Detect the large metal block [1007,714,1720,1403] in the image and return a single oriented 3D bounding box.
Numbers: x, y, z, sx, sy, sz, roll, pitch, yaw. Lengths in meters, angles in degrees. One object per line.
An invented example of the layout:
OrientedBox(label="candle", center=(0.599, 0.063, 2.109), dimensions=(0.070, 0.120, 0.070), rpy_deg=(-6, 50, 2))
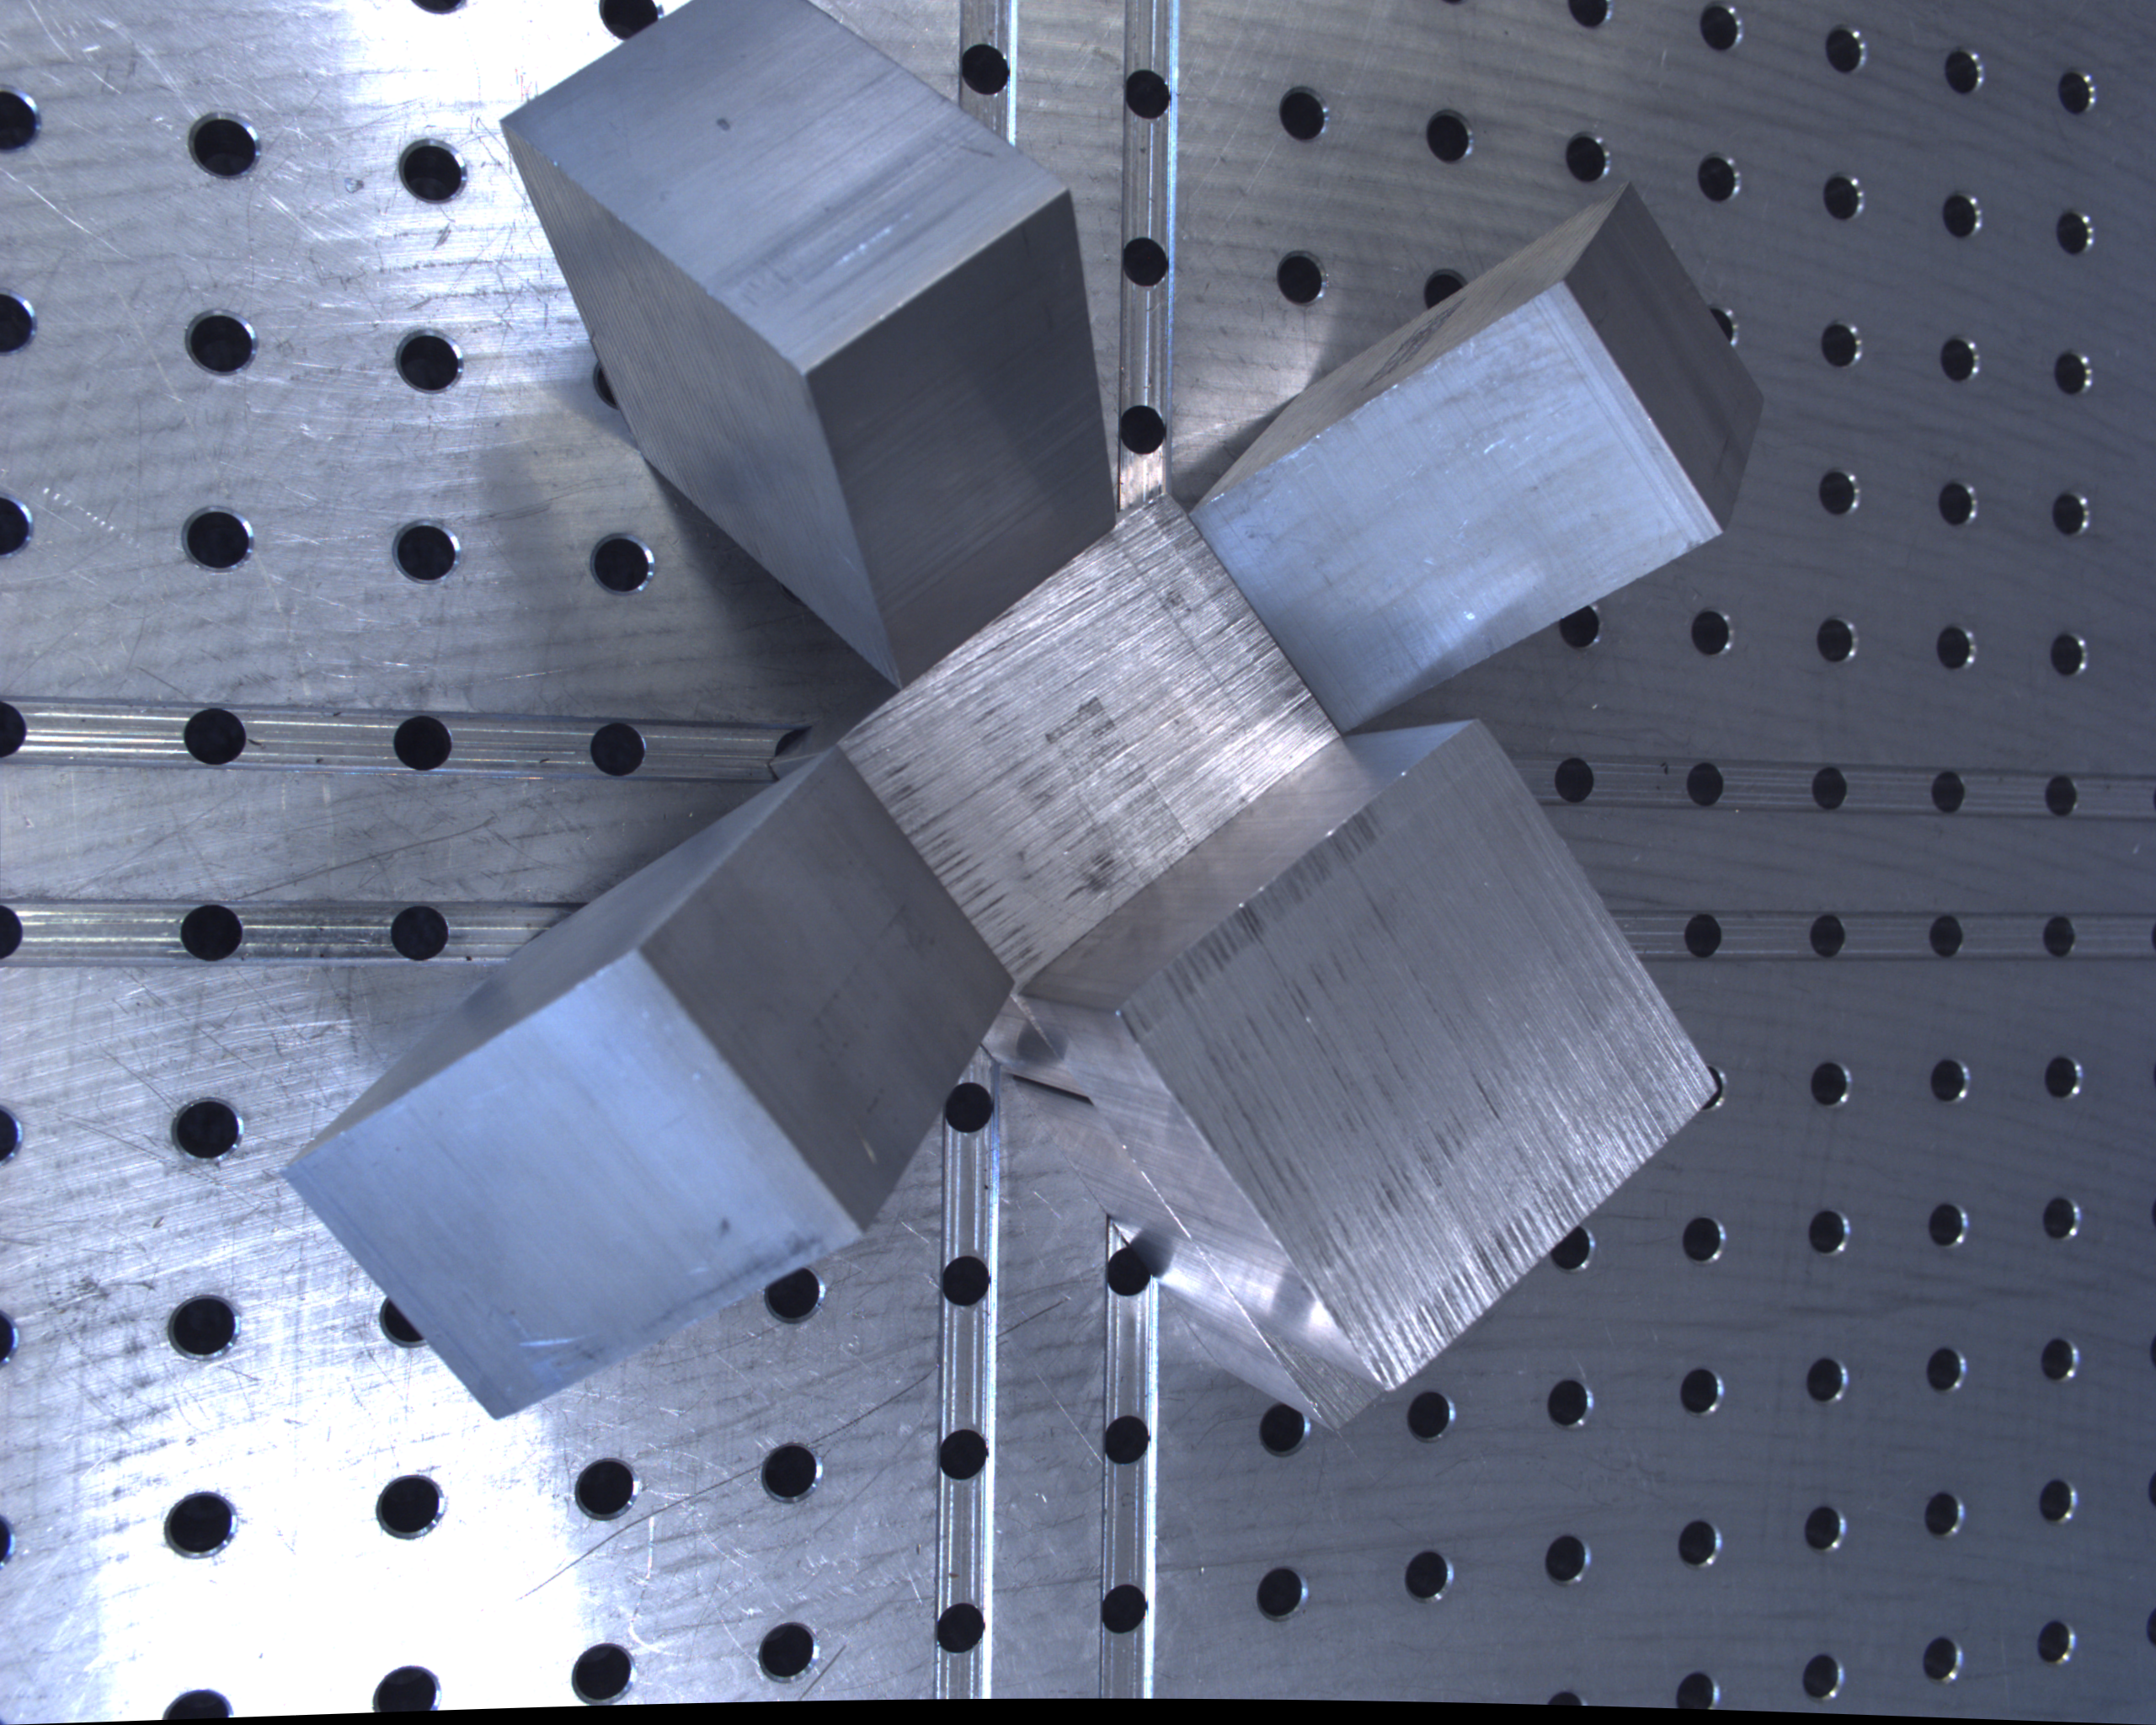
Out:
OrientedBox(label="large metal block", center=(0.049, 0.031, 0.363), dimensions=(0.080, 0.050, 0.080), rpy_deg=(-39, 103, -17))

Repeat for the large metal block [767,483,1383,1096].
OrientedBox(label="large metal block", center=(0.001, -0.013, 0.399), dimensions=(0.080, 0.050, 0.080), rpy_deg=(-40, 103, -16))

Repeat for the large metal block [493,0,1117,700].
OrientedBox(label="large metal block", center=(-0.042, -0.088, 0.351), dimensions=(0.050, 0.080, 0.080), rpy_deg=(-40, 64, -15))

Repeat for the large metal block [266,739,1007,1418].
OrientedBox(label="large metal block", center=(-0.068, 0.033, 0.342), dimensions=(0.080, 0.080, 0.050), rpy_deg=(-31, 103, 25))

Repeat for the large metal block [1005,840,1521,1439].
OrientedBox(label="large metal block", center=(0.047, 0.052, 0.416), dimensions=(0.080, 0.050, 0.080), rpy_deg=(-39, 101, -17))

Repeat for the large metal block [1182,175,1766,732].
OrientedBox(label="large metal block", center=(0.077, -0.077, 0.395), dimensions=(0.050, 0.080, 0.080), rpy_deg=(54, 34, -12))
